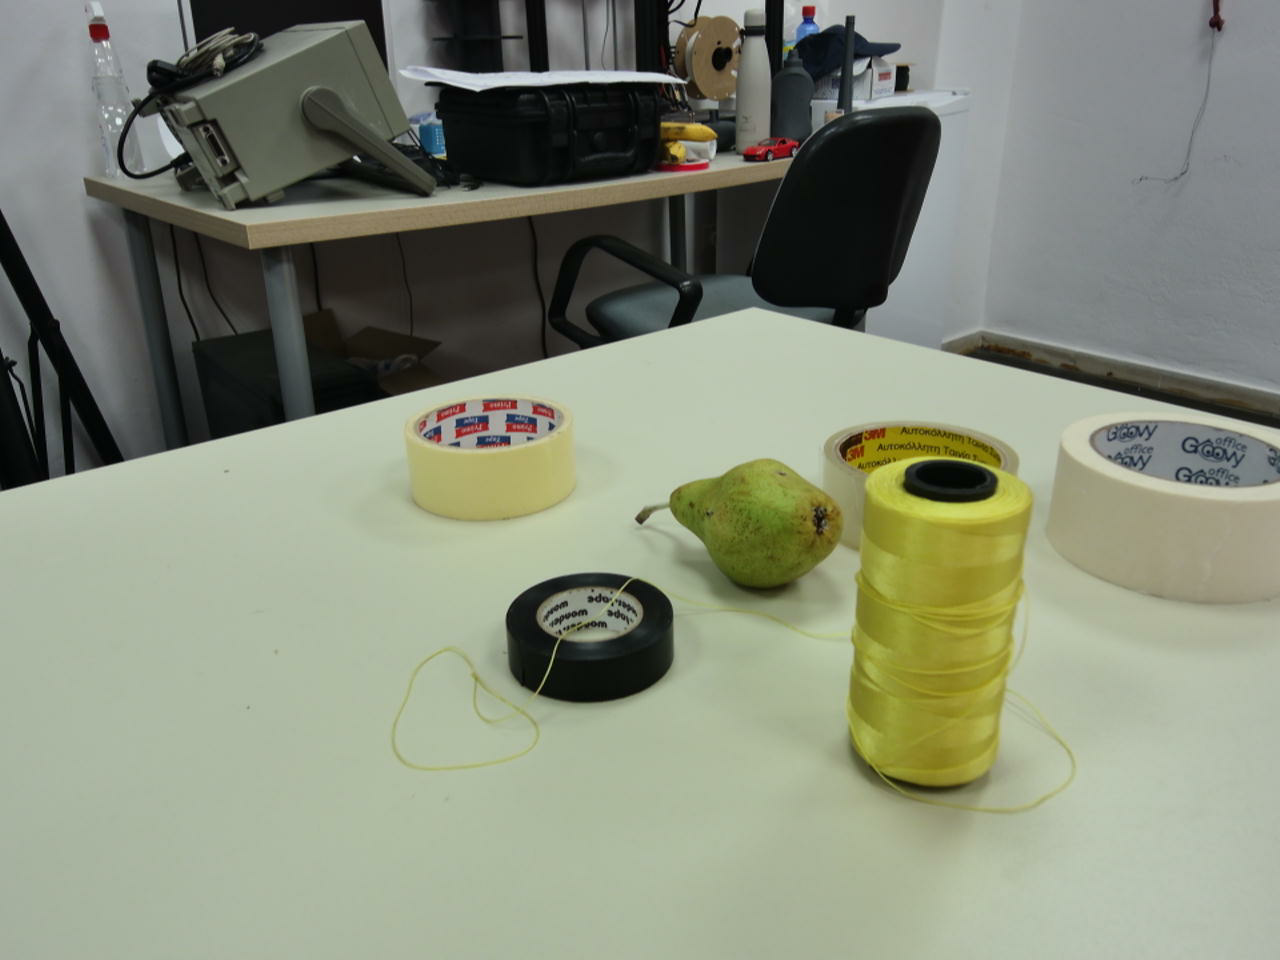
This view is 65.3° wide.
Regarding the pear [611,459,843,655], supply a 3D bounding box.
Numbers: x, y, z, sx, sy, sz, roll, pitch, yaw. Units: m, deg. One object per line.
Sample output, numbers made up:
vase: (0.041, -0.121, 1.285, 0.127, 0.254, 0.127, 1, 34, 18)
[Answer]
pear: (0.048, 0.013, 0.461, 0.056, 0.056, 0.111, -9, 24, -22)
